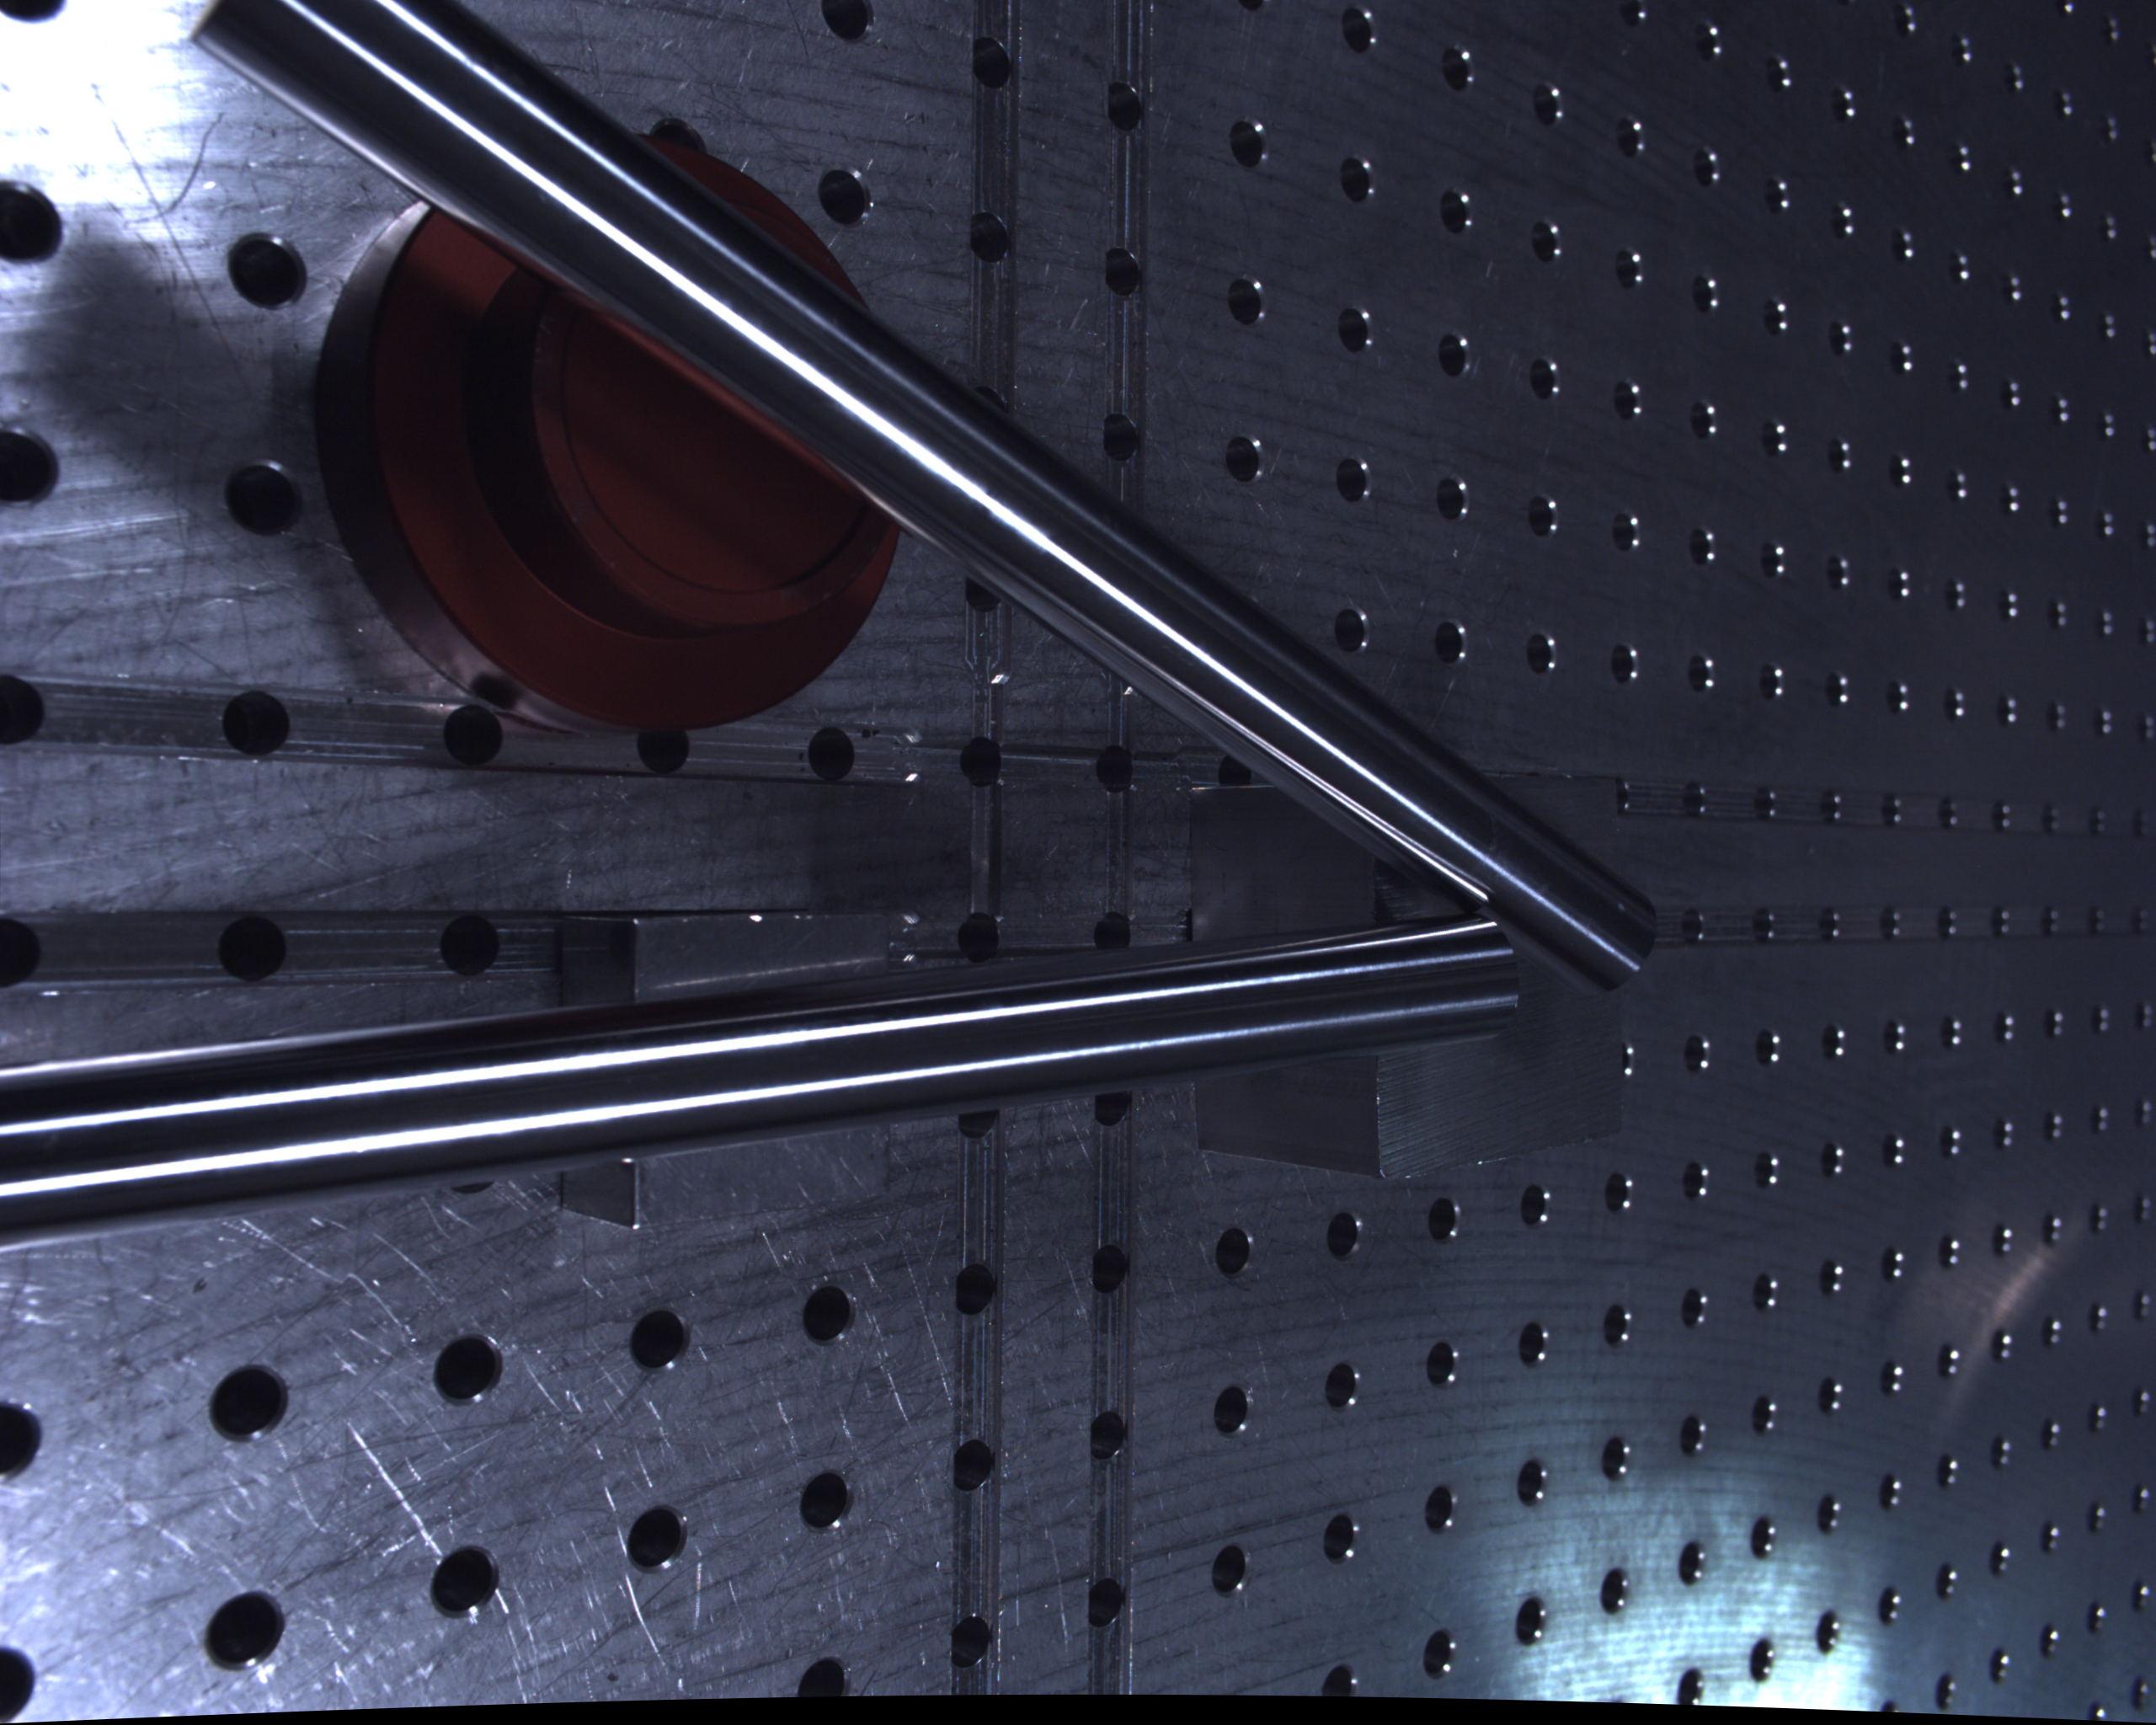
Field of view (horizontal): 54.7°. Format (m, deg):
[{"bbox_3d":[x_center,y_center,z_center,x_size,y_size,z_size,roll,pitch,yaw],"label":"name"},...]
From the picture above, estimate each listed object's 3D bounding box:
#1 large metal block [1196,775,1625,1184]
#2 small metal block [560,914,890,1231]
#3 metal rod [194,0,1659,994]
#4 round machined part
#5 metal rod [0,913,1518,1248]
[{"bbox_3d":[0.073,0.022,0.453,0.081,0.050,0.079,-3,92,-40],"label":"large metal block"},{"bbox_3d":[-0.061,0.034,0.361,0.050,0.025,0.050,-1,91,-40],"label":"small metal block"},{"bbox_3d":[0.001,-0.050,0.349,0.301,0.025,0.025,31,70,-33],"label":"metal rod"},{"bbox_3d":[-0.068,-0.070,0.342,0.099,0.042,0.097,0,90,-40],"label":"round machined part"},{"bbox_3d":[-0.054,0.032,0.330,0.303,0.025,0.025,-4,93,-30],"label":"metal rod"}]
